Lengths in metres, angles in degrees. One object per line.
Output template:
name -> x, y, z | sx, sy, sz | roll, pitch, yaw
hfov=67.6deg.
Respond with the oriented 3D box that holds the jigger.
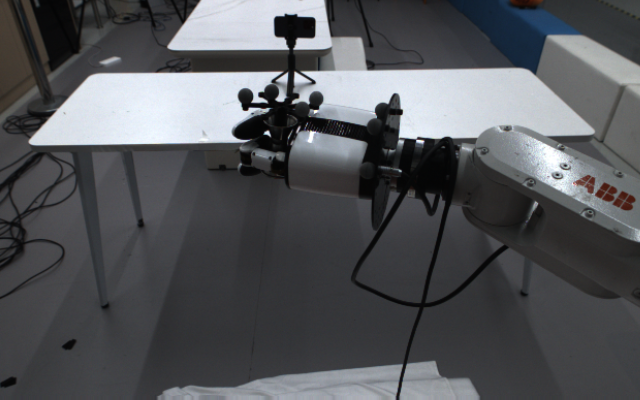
jigger -> -0.045, -0.066, 0.591 | 0.043, 0.071, 0.043 | 4, 31, -2
